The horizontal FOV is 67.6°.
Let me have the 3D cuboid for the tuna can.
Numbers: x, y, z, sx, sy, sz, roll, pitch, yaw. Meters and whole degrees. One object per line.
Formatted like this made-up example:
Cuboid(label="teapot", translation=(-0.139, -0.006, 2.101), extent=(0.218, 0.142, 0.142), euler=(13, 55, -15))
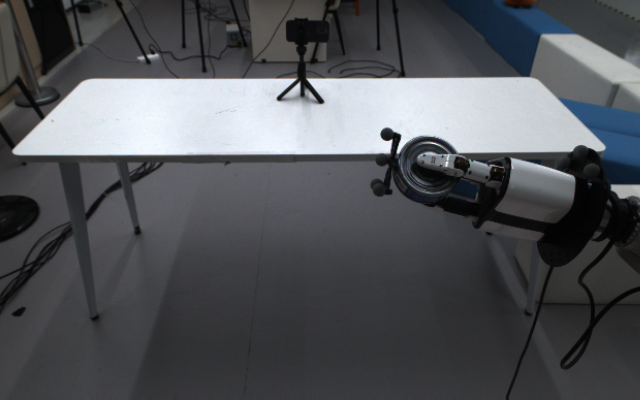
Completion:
Cuboid(label="tuna can", translation=(0.142, -0.043, 0.638), extent=(0.085, 0.034, 0.085), euler=(2, 73, -6))
